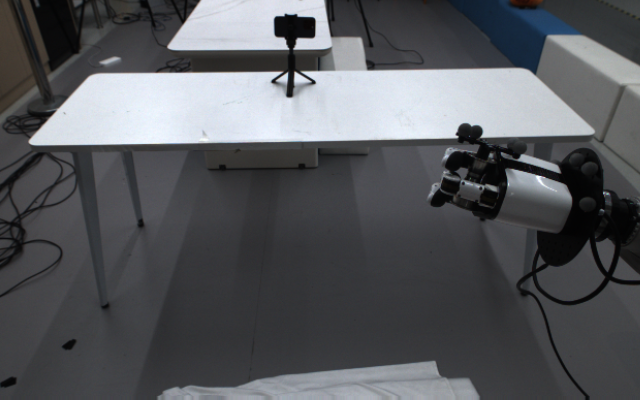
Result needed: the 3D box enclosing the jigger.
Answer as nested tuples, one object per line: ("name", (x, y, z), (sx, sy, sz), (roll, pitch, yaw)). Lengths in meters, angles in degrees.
("jigger", (0.203, -0.025, 0.642), (0.043, 0.071, 0.043), (15, 17, -5))
